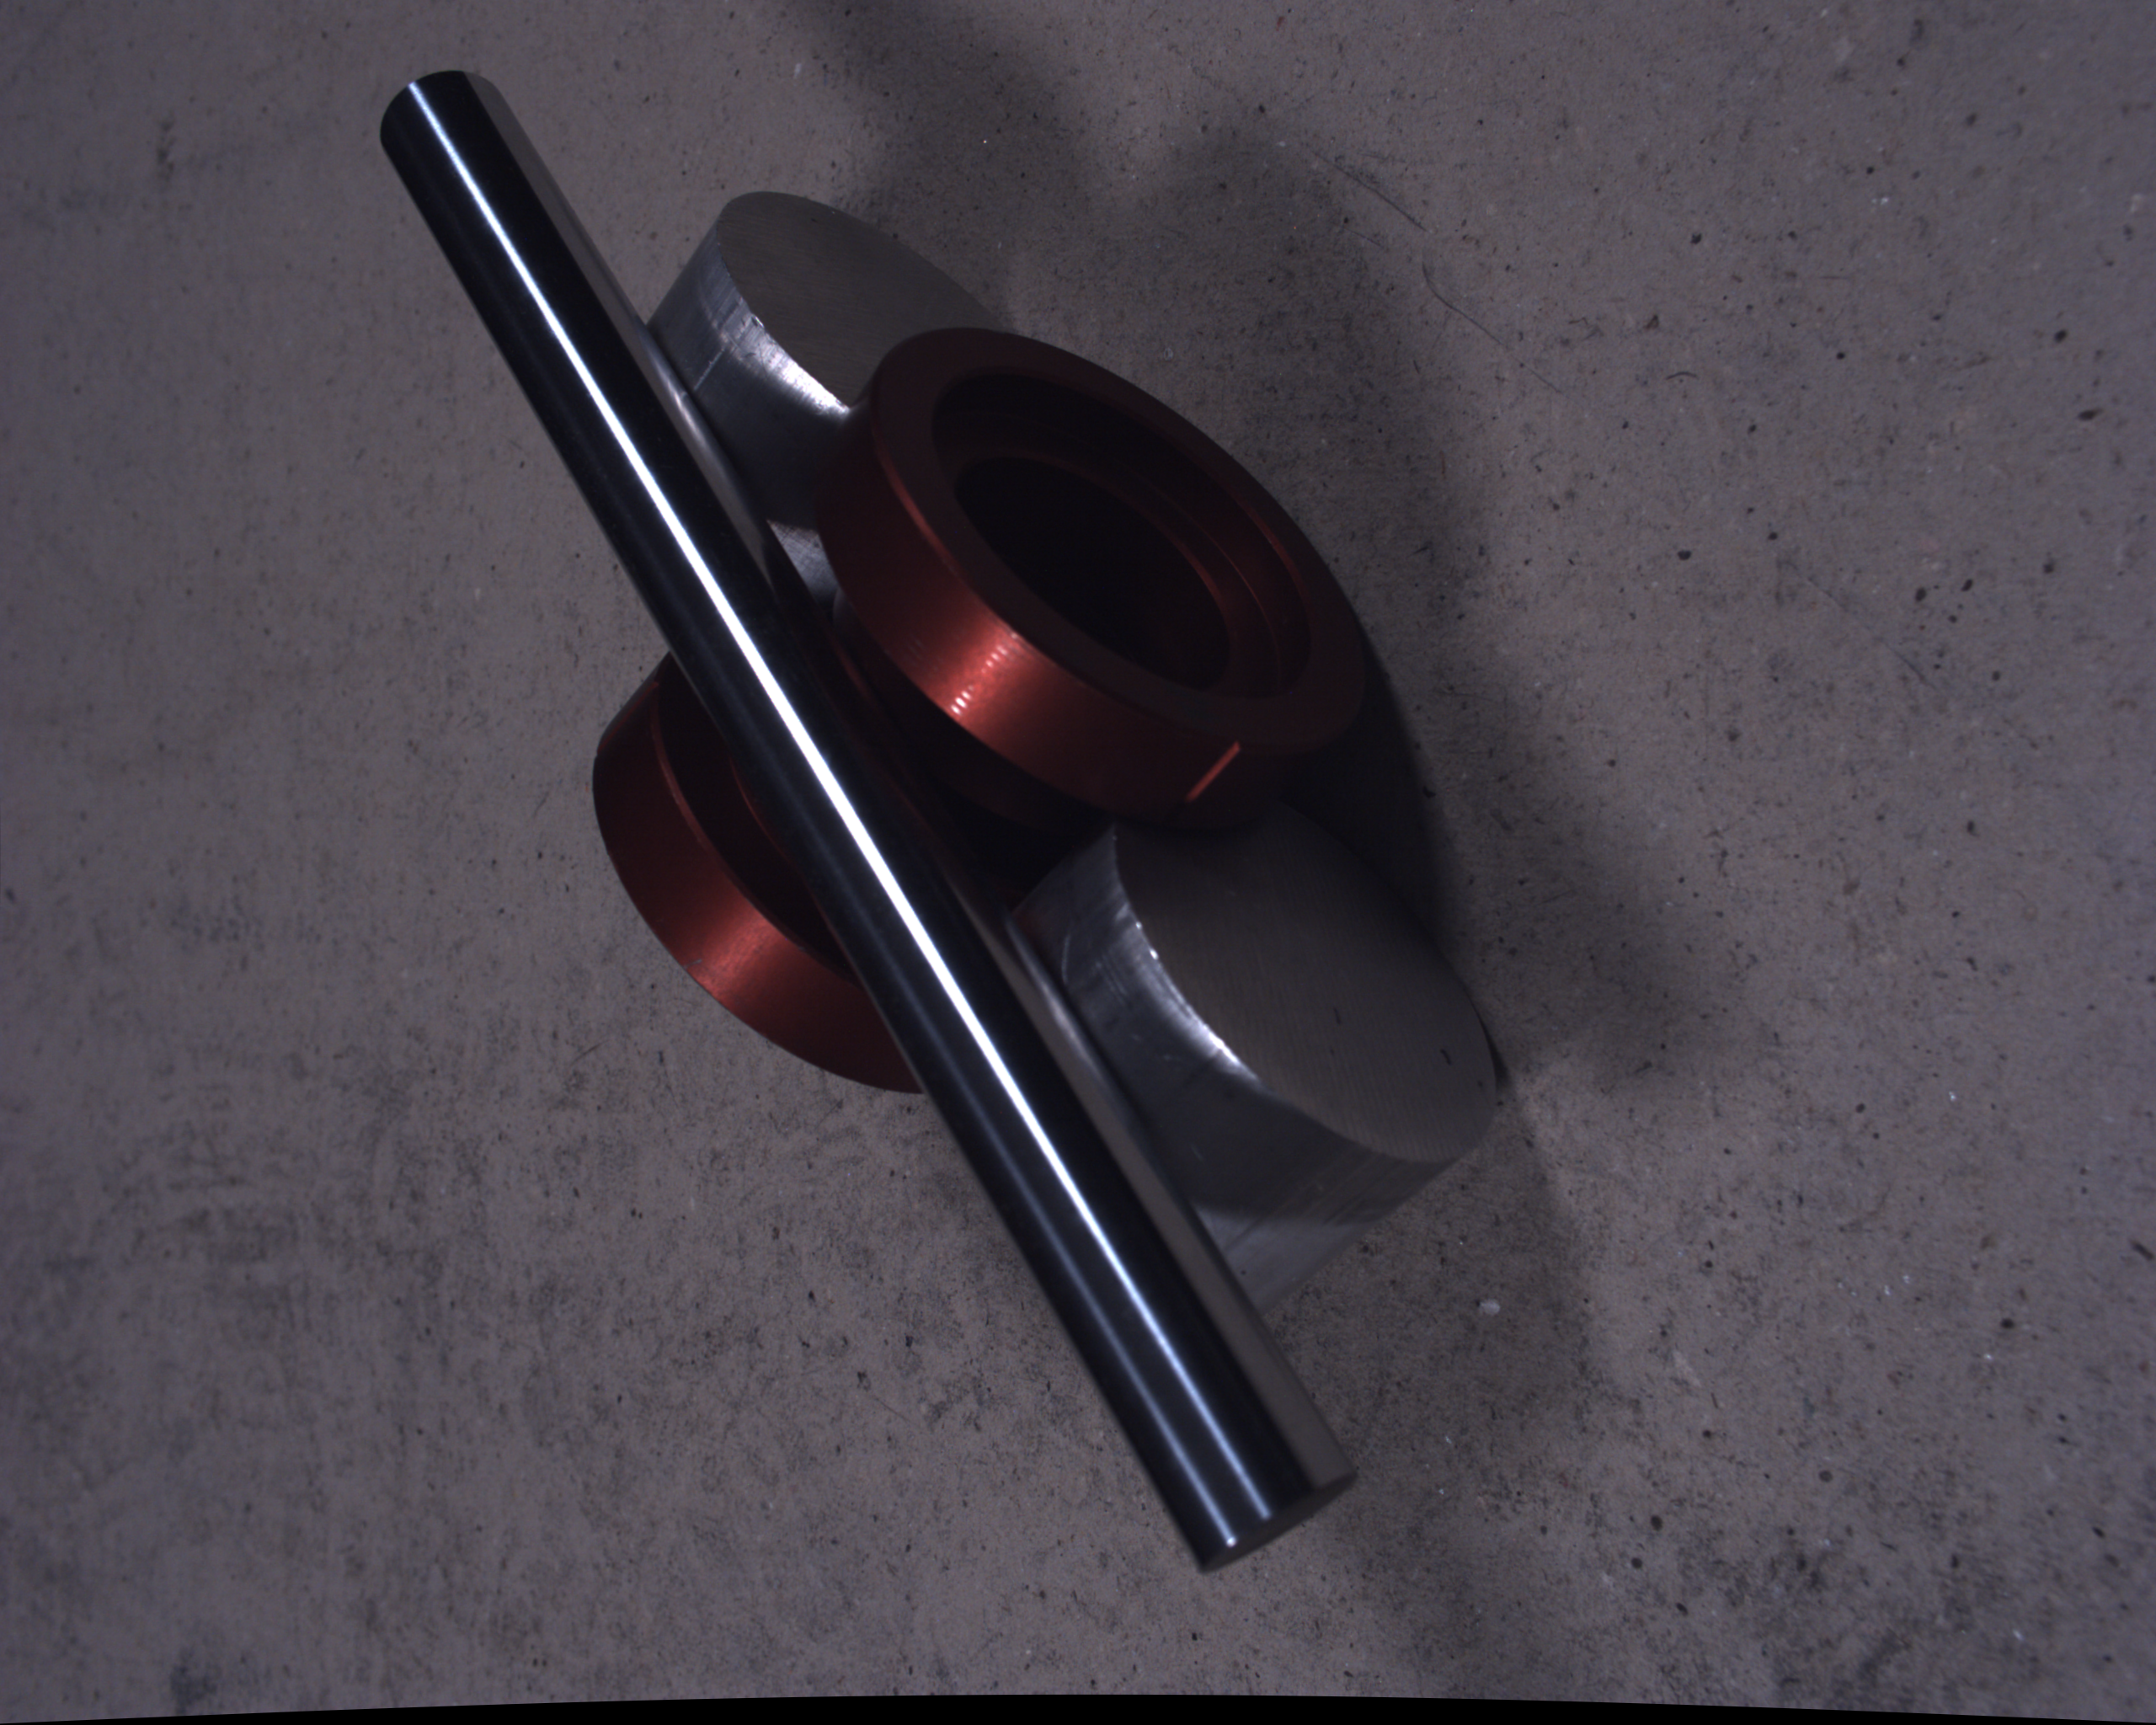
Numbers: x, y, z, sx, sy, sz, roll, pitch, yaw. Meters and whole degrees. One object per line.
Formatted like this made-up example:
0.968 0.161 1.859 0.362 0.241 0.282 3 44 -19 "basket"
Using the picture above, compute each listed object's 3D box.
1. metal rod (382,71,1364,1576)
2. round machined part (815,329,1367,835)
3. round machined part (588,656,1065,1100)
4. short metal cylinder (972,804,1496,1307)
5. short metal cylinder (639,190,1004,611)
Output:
-0.047 -0.026 0.339 0.025 0.025 0.299 -47 62 29 "metal rod"
-0.002 -0.043 0.359 0.042 0.099 0.098 -49 61 34 "round machined part"
-0.037 -0.008 0.385 0.042 0.099 0.098 -45 64 26 "round machined part"
0.023 0.030 0.350 0.050 0.081 0.080 -46 63 30 "short metal cylinder"
-0.049 -0.085 0.408 0.050 0.081 0.080 -46 63 30 "short metal cylinder"
